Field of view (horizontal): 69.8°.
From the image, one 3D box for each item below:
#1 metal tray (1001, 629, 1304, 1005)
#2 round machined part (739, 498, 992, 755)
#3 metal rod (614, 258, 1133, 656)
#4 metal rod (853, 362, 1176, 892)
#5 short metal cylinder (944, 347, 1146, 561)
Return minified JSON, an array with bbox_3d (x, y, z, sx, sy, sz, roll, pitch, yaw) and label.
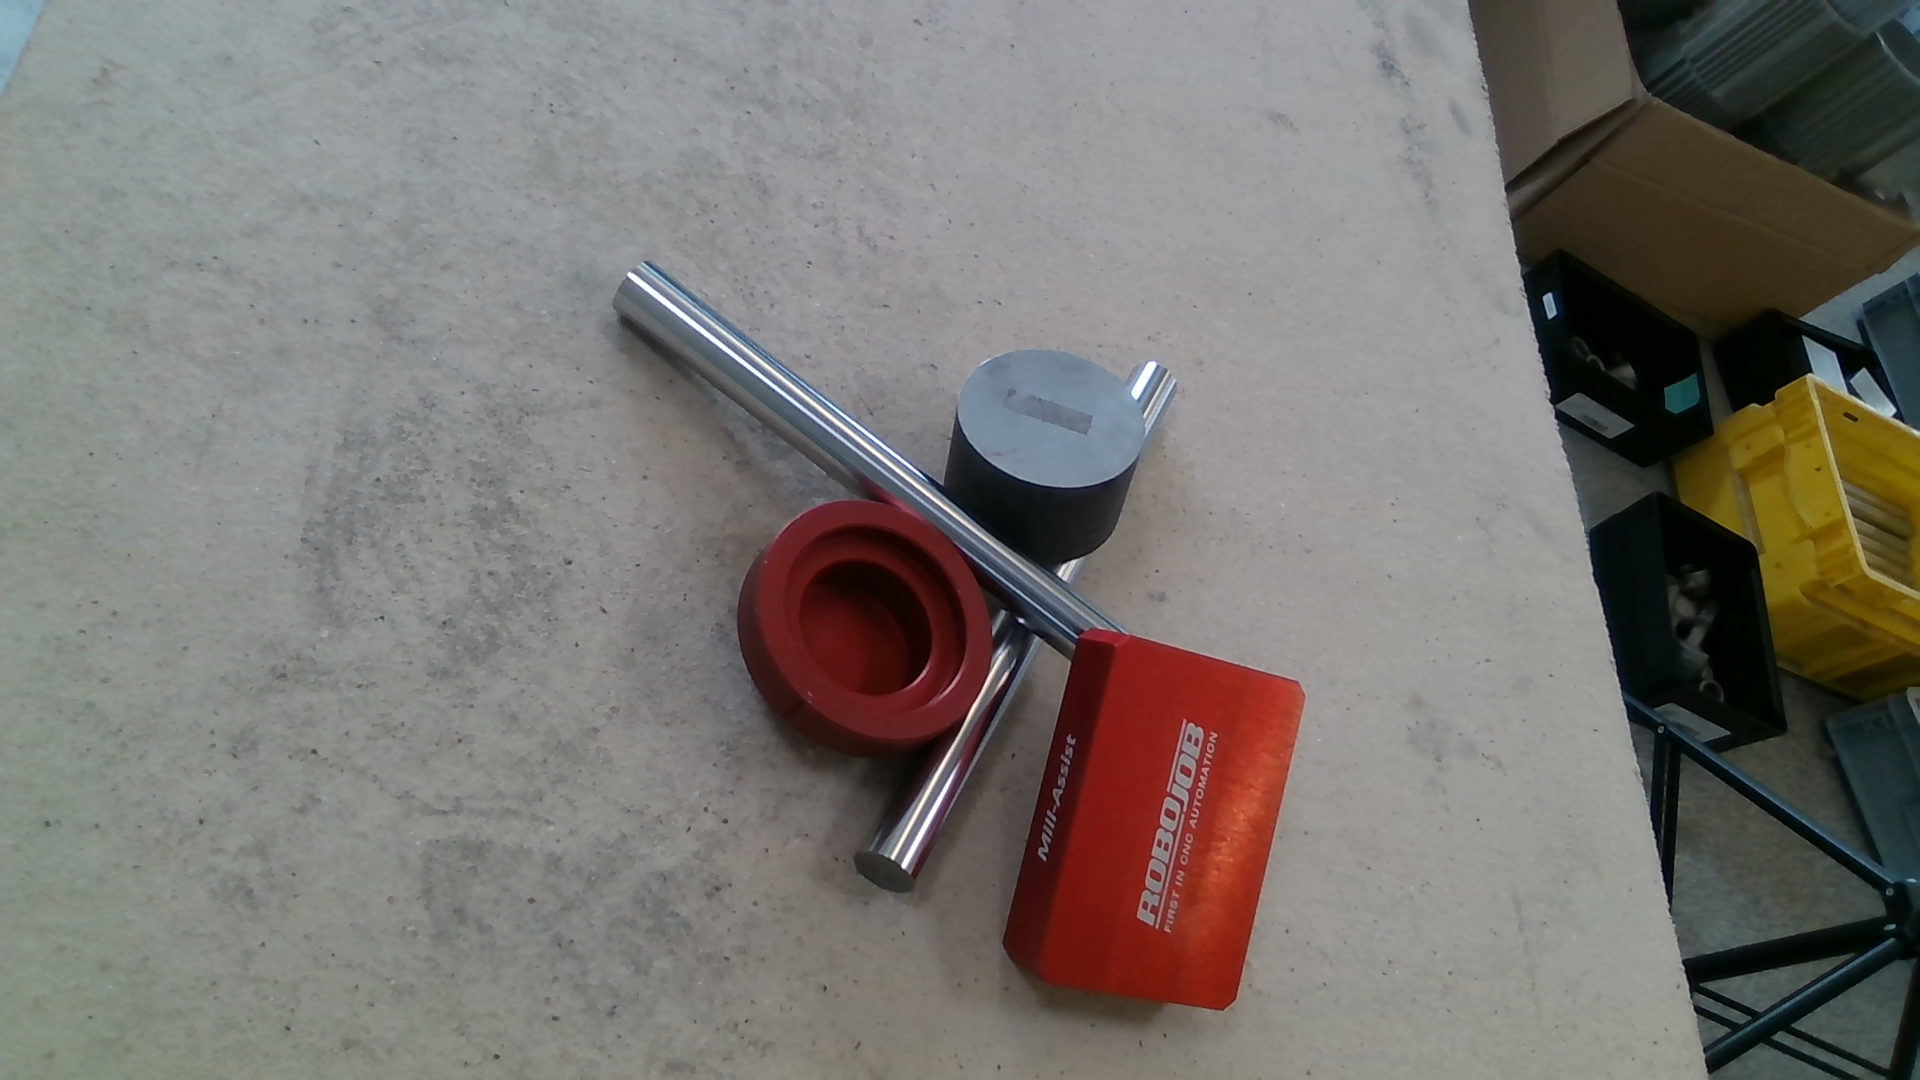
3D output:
[{"bbox_3d":[0.076,0.107,0.536,0.090,0.030,0.130,16,86,-24],"label":"metal tray"},{"bbox_3d":[-0.040,0.036,0.531,0.098,0.042,0.098,14,59,-25],"label":"round machined part"},{"bbox_3d":[-0.014,-0.013,0.562,0.300,0.025,0.025,38,51,-1],"label":"metal rod"},{"bbox_3d":[0.034,0.021,0.597,0.025,0.025,0.299,38,52,-8],"label":"metal rod"},{"bbox_3d":[0.035,-0.038,0.595,0.080,0.050,0.080,5,50,-6],"label":"short metal cylinder"}]
